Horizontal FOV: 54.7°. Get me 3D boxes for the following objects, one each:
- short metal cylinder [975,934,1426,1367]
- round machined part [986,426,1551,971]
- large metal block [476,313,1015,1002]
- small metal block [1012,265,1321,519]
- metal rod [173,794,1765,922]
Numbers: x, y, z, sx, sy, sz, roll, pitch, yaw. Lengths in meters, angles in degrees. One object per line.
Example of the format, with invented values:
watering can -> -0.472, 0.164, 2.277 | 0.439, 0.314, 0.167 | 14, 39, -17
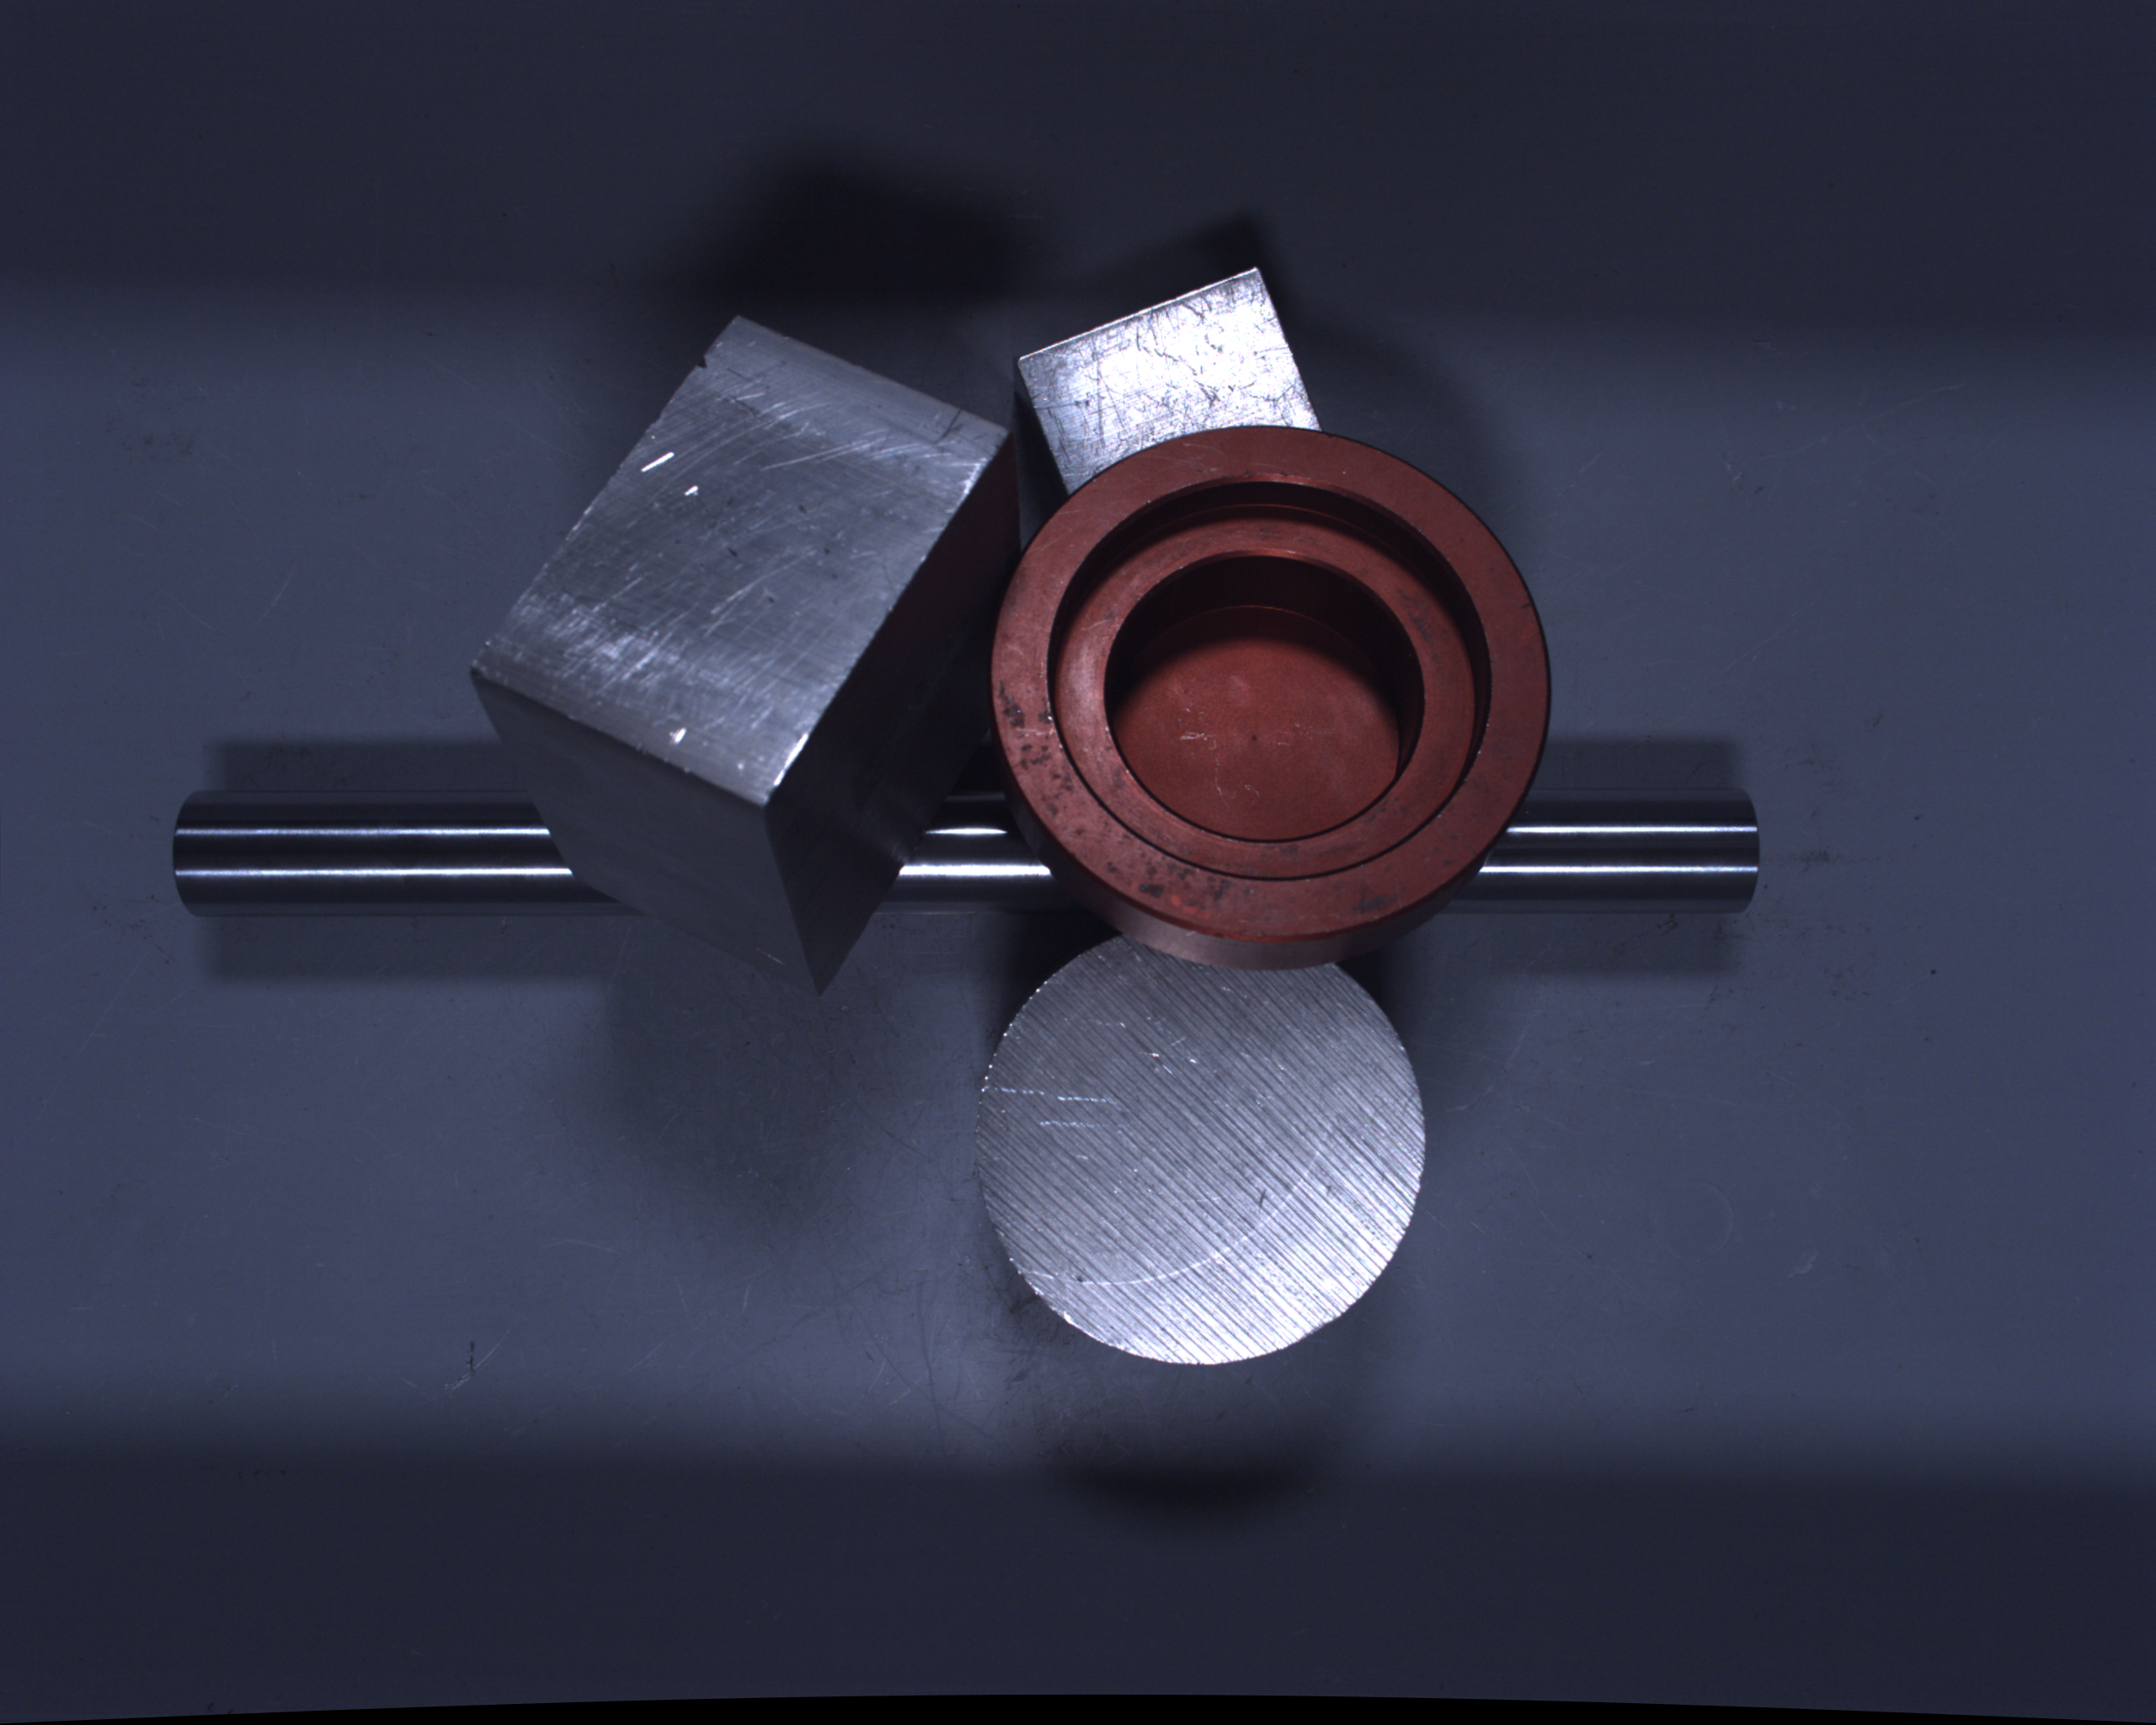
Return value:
short metal cylinder -> 0.022, 0.050, 0.397 | 0.081, 0.050, 0.079 | 0, 90, -1
round machined part -> 0.033, -0.027, 0.383 | 0.099, 0.042, 0.098 | 0, 72, 0
large metal block -> -0.052, -0.033, 0.367 | 0.050, 0.080, 0.080 | 25, 67, 11
small metal block -> 0.020, -0.082, 0.411 | 0.050, 0.025, 0.050 | -21, 90, -1
metal rod -> -0.020, -0.001, 0.408 | 0.302, 0.025, 0.025 | 0, 90, -1
